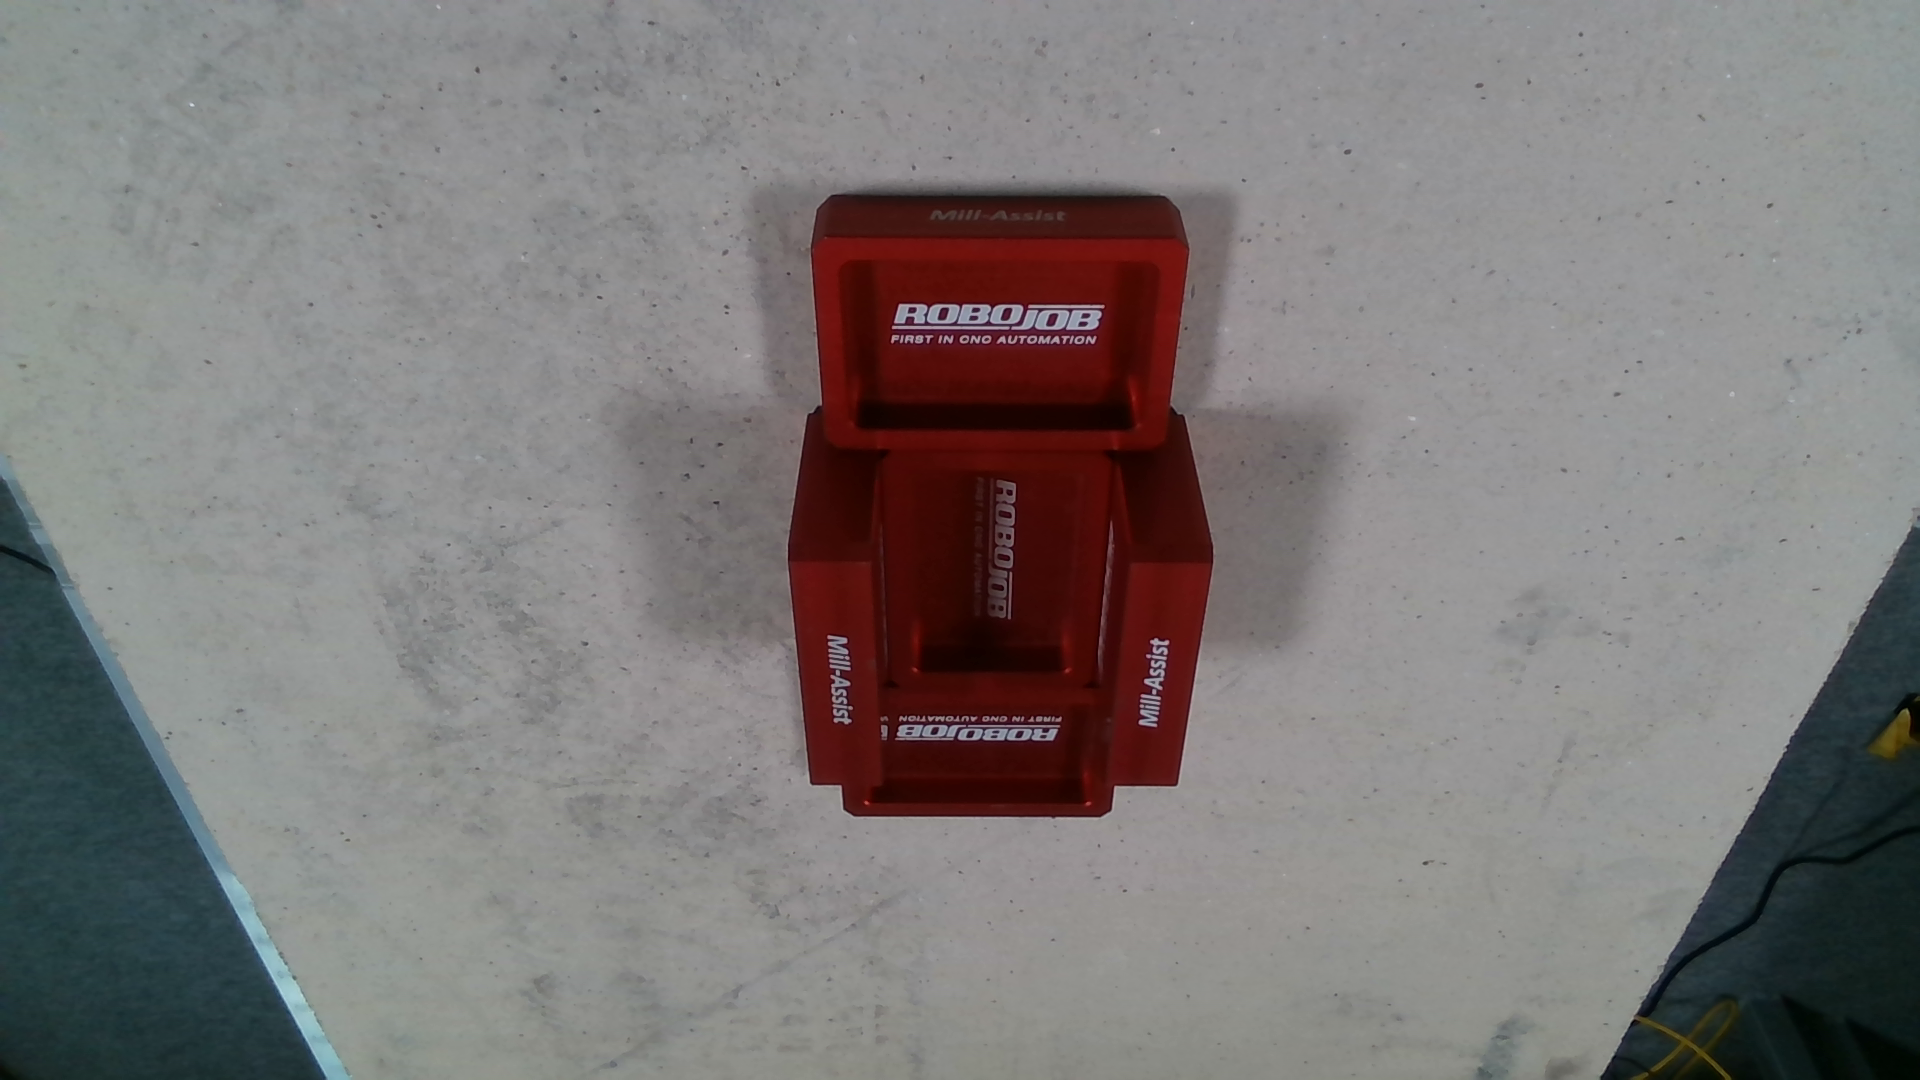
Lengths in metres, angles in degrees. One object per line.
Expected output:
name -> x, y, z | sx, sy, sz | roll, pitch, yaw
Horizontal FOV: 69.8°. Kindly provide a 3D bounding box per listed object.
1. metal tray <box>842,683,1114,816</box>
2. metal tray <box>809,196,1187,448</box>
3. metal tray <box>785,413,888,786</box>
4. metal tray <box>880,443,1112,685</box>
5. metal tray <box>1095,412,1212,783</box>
metal tray -> 0.008, 0.090, 0.652 | 0.130, 0.030, 0.090 | 0, 130, 0
metal tray -> 0.013, -0.079, 0.510 | 0.130, 0.030, 0.090 | 0, 130, 0
metal tray -> -0.047, 0.025, 0.556 | 0.030, 0.090, 0.130 | 0, 130, 0
metal tray -> 0.014, 0.005, 0.580 | 0.090, 0.030, 0.130 | 1, 130, 0
metal tray -> 0.074, 0.025, 0.558 | 0.030, 0.090, 0.130 | 0, 130, 0
